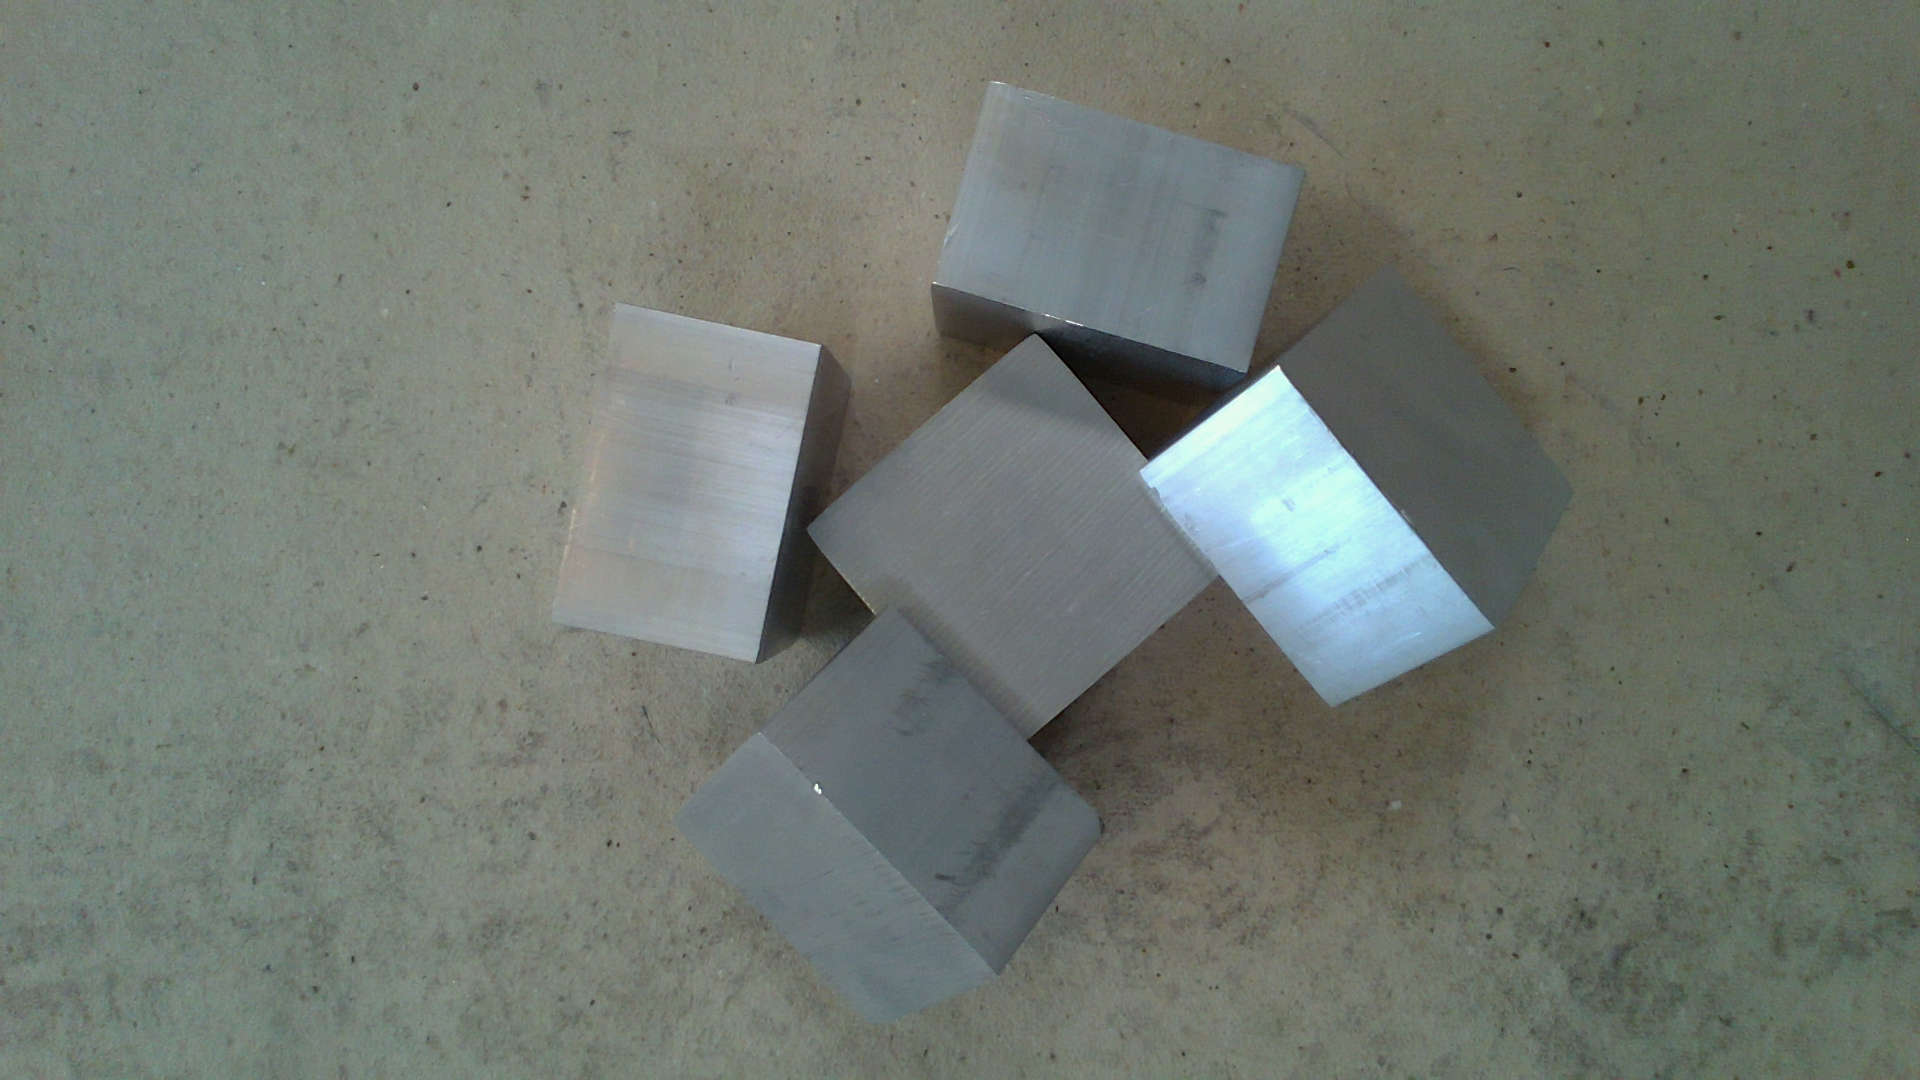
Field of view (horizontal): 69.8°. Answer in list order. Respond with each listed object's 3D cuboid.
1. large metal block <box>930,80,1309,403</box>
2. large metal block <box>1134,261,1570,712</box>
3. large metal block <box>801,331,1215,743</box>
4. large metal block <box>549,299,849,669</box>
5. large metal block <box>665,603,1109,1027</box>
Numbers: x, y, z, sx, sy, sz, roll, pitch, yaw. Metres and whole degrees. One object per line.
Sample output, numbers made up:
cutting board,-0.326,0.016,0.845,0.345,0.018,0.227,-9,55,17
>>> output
large metal block,0.038,-0.075,0.368,0.080,0.080,0.050,16,90,0
large metal block,0.105,-0.016,0.363,0.080,0.080,0.050,51,134,0
large metal block,0.015,0.001,0.381,0.080,0.050,0.080,-41,91,0
large metal block,-0.066,-0.014,0.369,0.050,0.080,0.080,12,91,0
large metal block,-0.022,0.075,0.362,0.080,0.080,0.050,45,53,0
